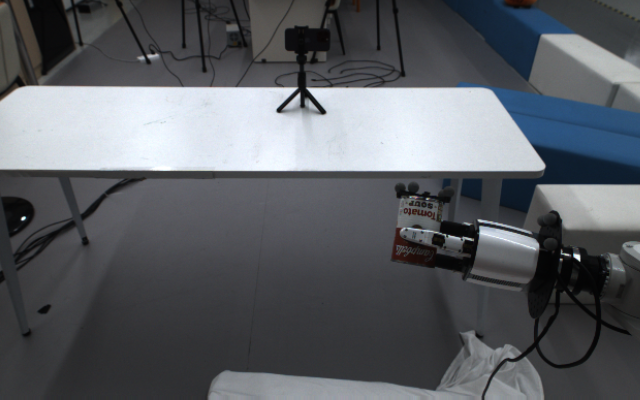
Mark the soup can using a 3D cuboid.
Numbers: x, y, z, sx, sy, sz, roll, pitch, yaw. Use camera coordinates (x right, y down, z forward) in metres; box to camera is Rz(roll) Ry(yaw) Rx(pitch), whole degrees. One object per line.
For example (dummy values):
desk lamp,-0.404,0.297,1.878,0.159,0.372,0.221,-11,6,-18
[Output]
soup can,0.151,0.047,0.743,0.067,0.101,0.067,9,-5,1
